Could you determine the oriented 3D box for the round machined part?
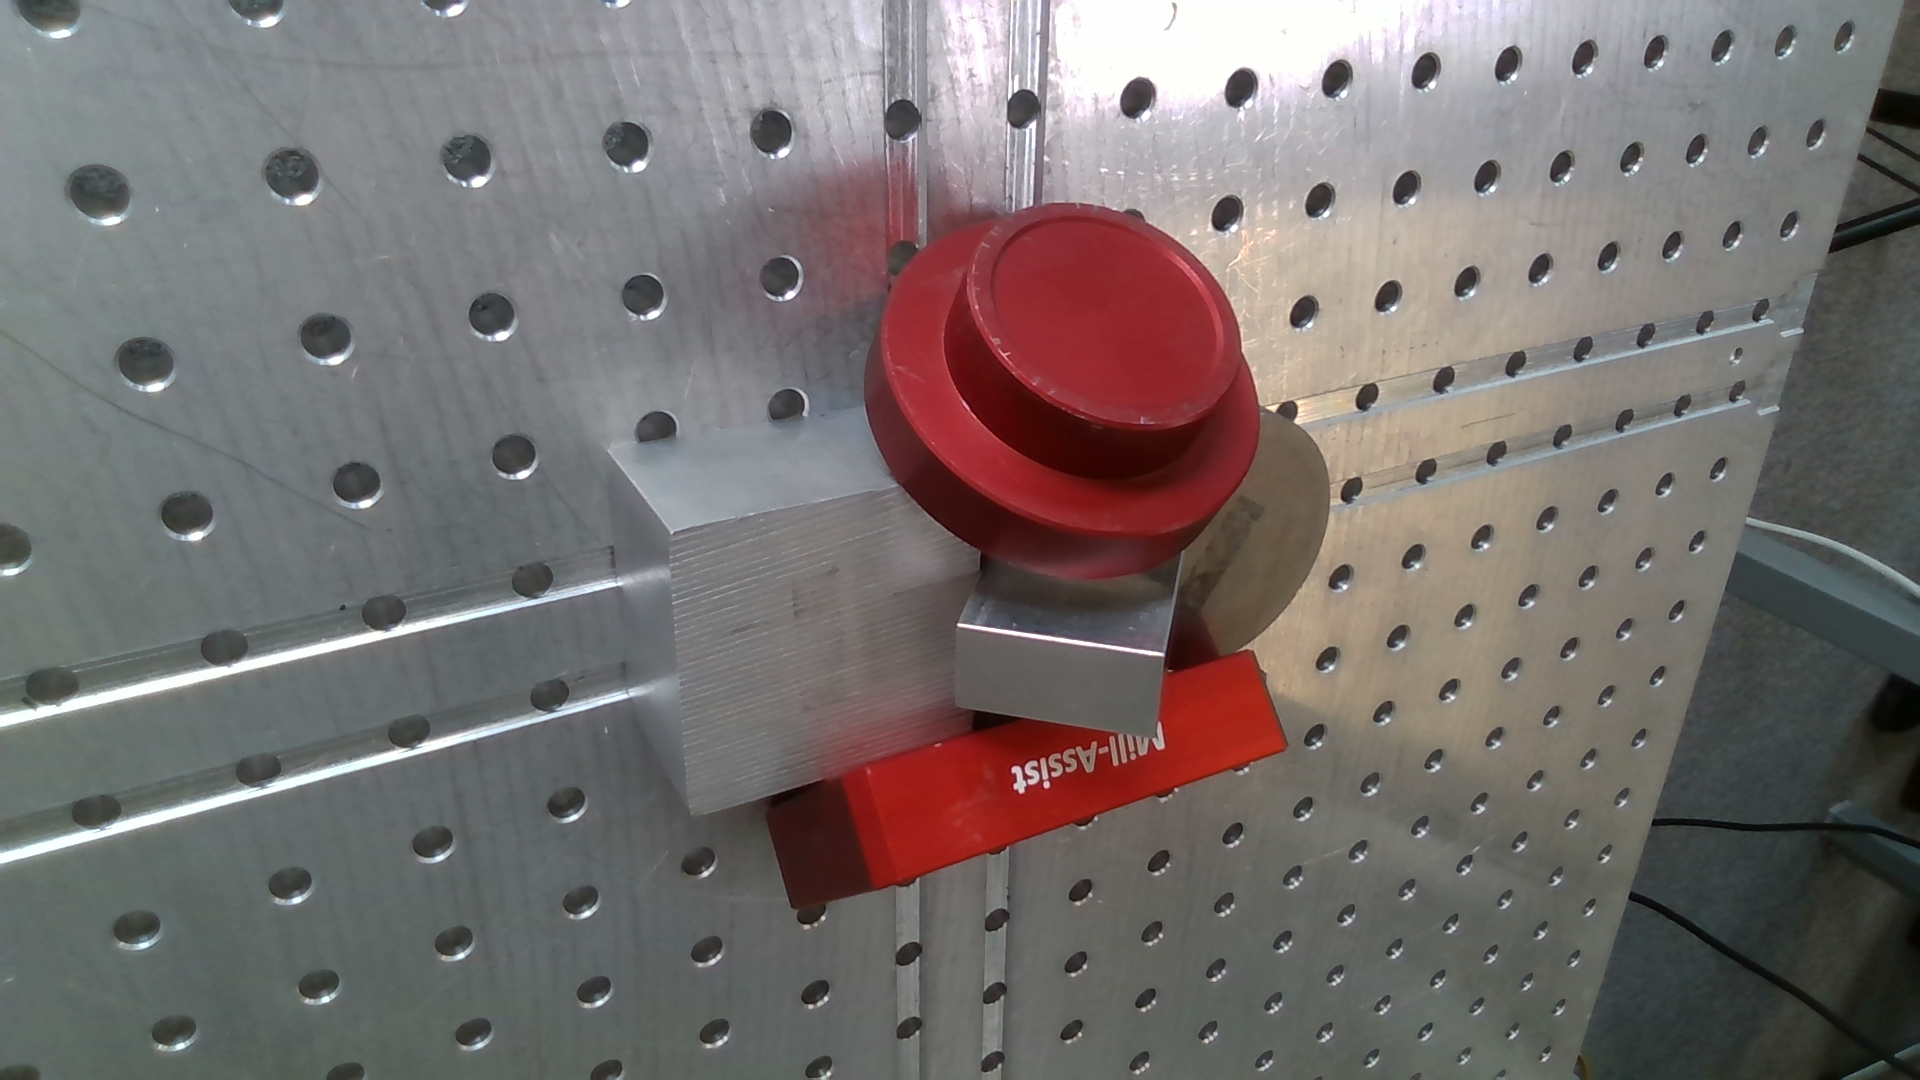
[{"bbox_3d":[0.029,-0.044,0.335,0.098,0.098,0.042,-13,154,-26],"label":"round machined part"}]

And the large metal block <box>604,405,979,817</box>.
[{"bbox_3d":[-0.043,0.015,0.358,0.080,0.050,0.080,-12,121,-26],"label":"large metal block"}]

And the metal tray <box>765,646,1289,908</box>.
[{"bbox_3d":[0.018,0.070,0.402,0.130,0.090,0.030,-13,78,-26],"label":"metal tray"}]

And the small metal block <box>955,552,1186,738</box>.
[{"bbox_3d":[0.029,0.021,0.352,0.050,0.050,0.025,8,122,11],"label":"small metal block"}]

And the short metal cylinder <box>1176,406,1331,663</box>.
[{"bbox_3d":[0.062,-0.009,0.409,0.080,0.050,0.080,-14,122,-25],"label":"short metal cylinder"}]
